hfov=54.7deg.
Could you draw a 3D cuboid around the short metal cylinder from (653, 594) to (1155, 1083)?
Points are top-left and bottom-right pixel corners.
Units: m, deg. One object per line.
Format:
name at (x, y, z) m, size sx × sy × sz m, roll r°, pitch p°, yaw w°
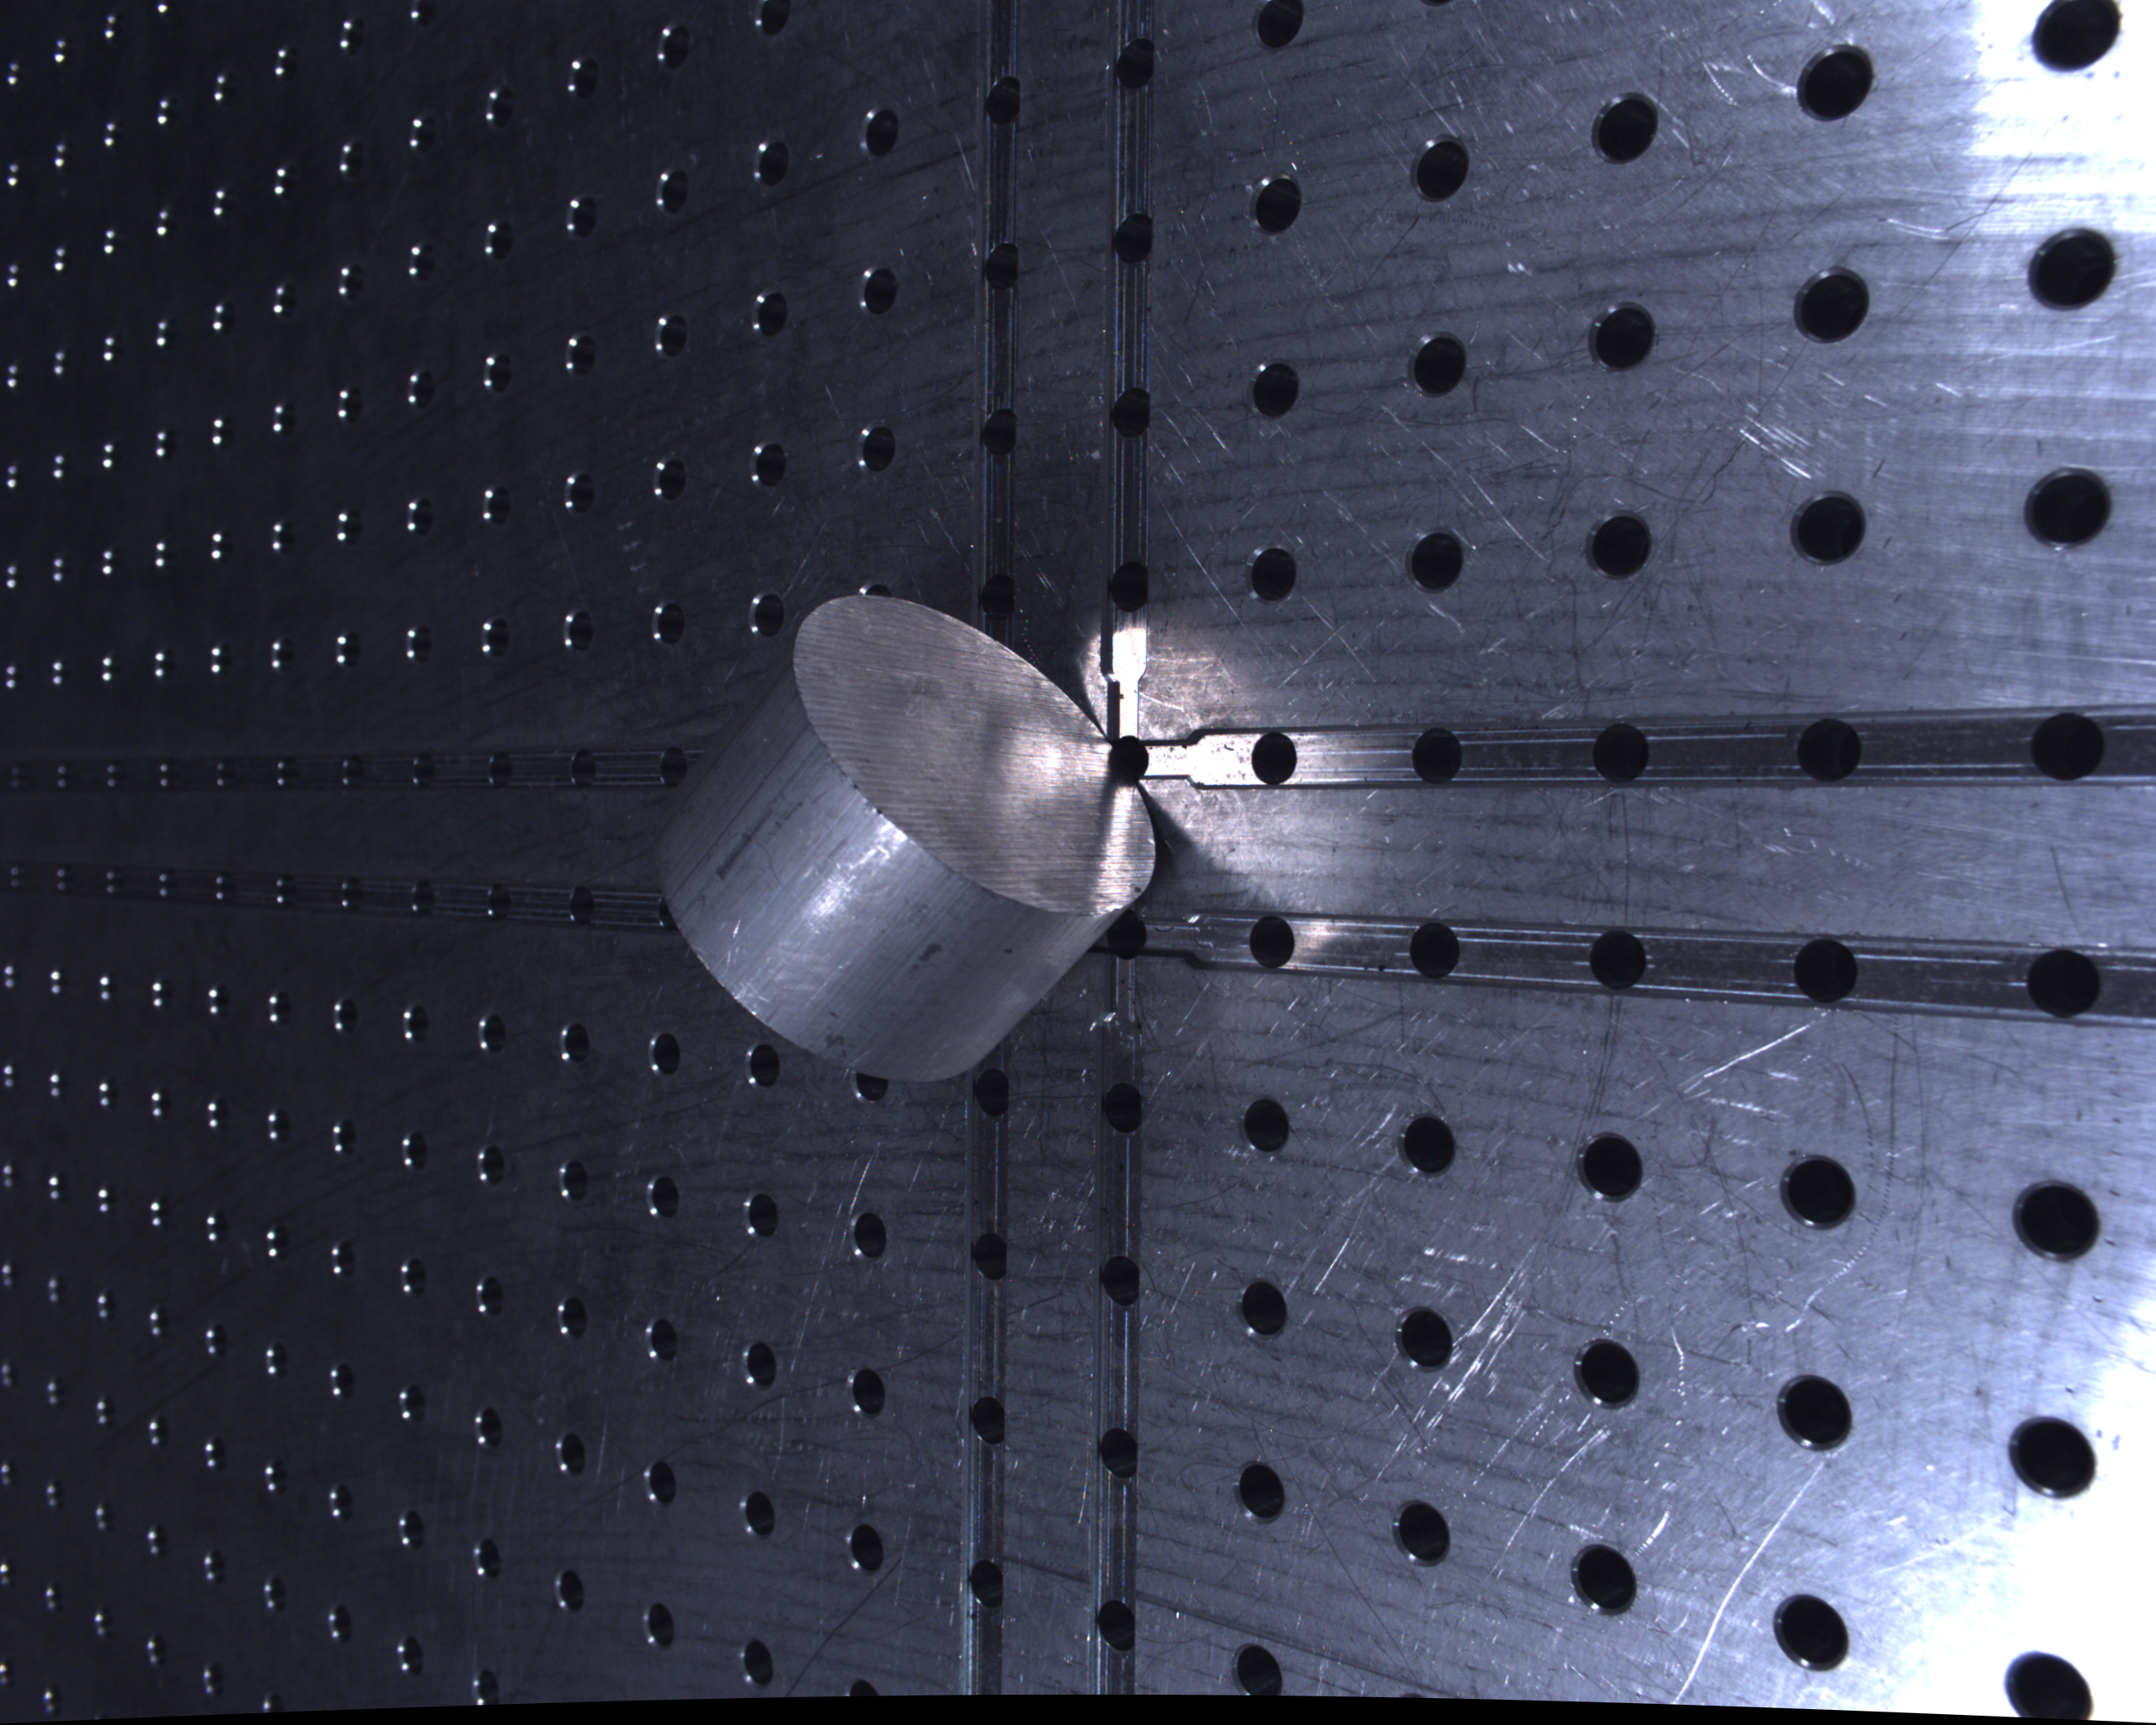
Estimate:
short metal cylinder at (-0.033, -0.005, 0.398) m, size 0.050 × 0.081 × 0.080 m, roll -48°, pitch 62°, yaw 29°
